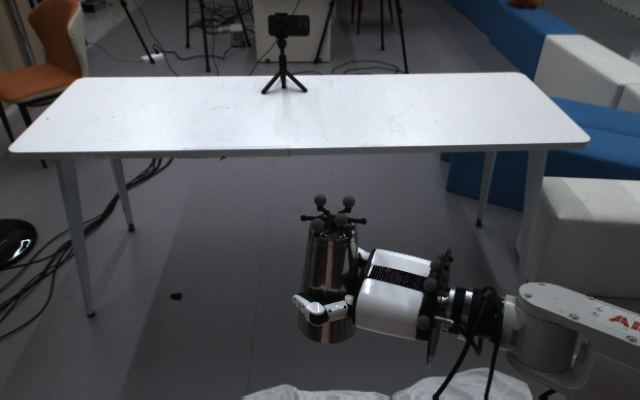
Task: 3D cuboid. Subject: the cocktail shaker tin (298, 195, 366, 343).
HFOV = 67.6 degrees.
[{"bbox_3d":[0.017,0.108,0.691,0.093,0.170,0.093,2,28,-1],"label":"cocktail shaker tin"}]
